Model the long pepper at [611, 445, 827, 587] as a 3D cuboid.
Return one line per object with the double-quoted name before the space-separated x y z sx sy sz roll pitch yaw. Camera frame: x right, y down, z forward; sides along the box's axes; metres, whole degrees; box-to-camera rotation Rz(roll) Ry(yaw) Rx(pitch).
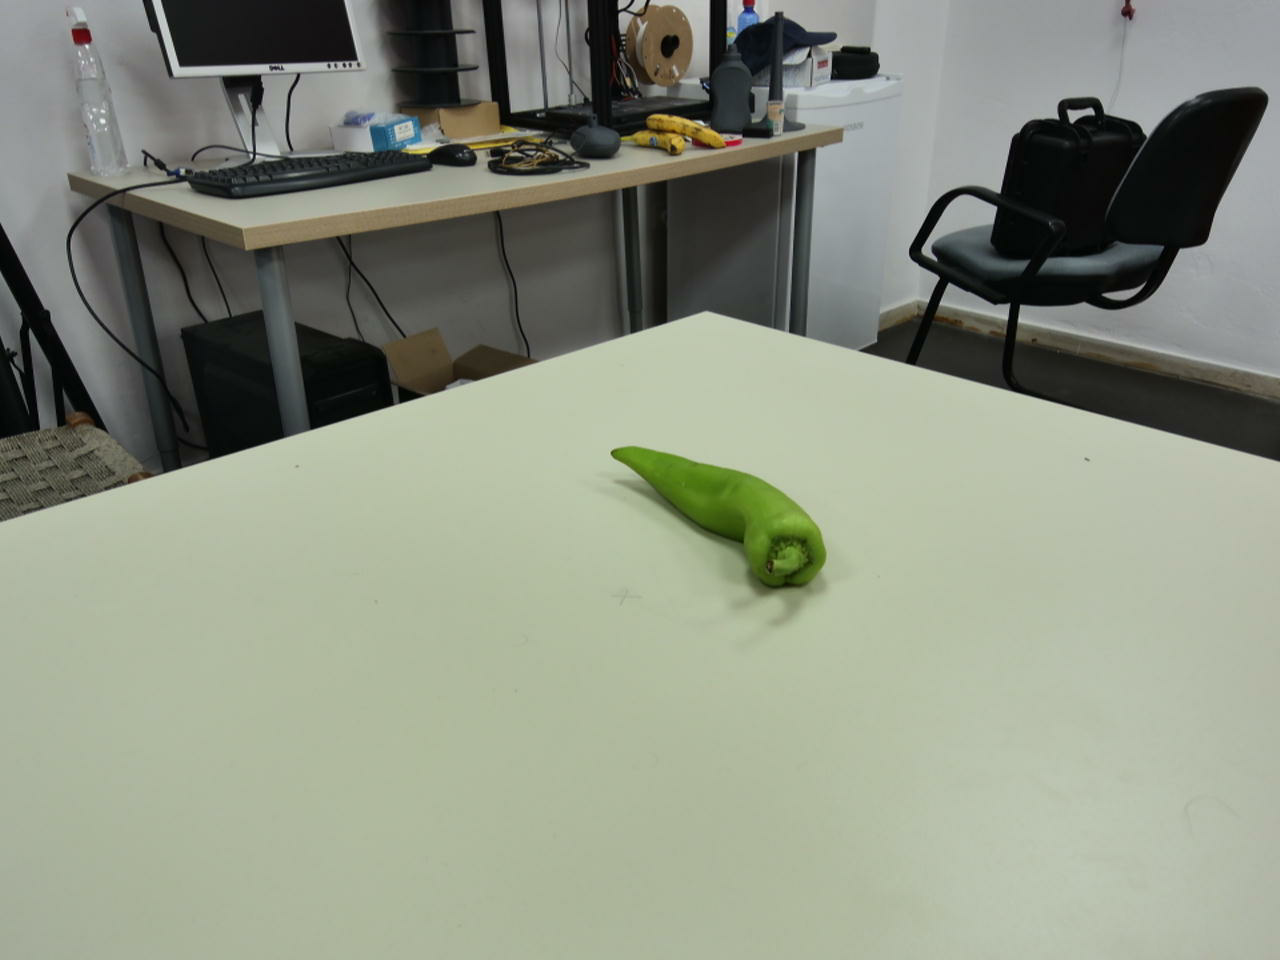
"long pepper" 0.052 0.014 0.632 0.065 0.045 0.204 -11 27 -24
